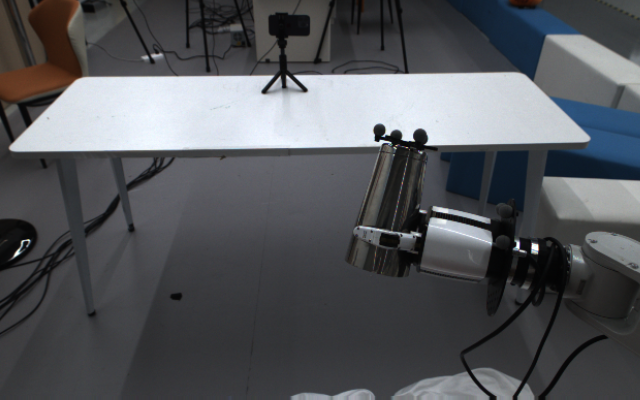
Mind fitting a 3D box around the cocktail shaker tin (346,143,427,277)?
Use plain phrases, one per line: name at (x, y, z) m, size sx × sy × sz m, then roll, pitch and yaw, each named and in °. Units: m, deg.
cocktail shaker tin at (0.099, 0.012, 0.676) m, size 0.093 × 0.170 × 0.093 m, roll 13°, pitch 4°, yaw -1°
